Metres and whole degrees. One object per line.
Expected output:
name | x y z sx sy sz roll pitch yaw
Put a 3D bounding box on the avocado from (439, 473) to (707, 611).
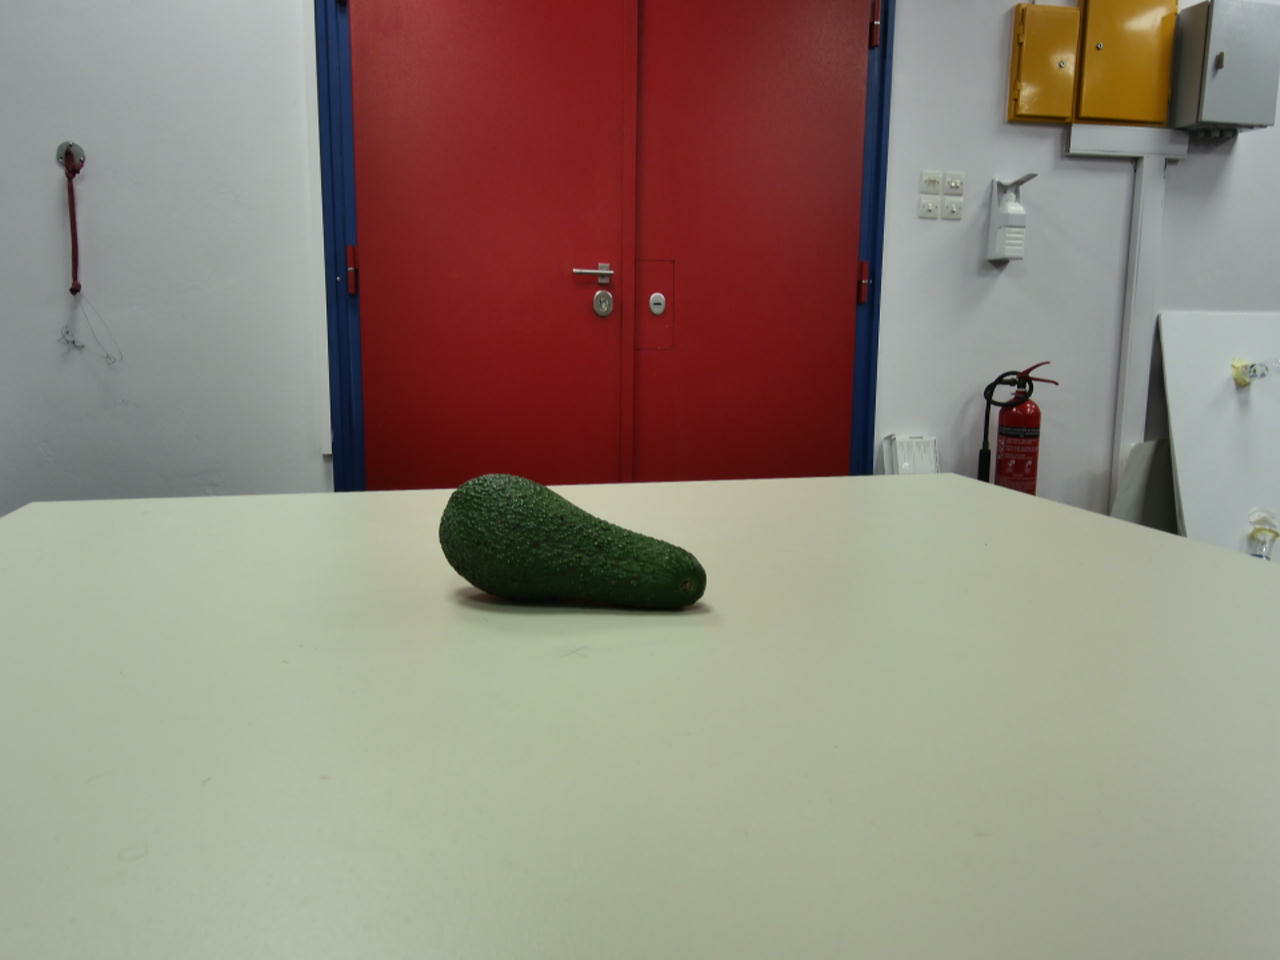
avocado | -0.035 0.030 0.518 0.141 0.067 0.063 0 6 2
